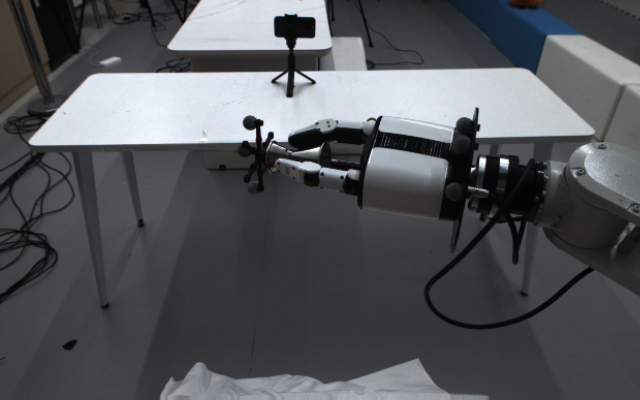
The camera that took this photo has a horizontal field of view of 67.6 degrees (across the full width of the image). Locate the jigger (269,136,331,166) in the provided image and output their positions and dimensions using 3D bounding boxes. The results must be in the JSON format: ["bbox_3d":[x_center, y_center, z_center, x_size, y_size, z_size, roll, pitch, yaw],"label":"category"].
[{"bbox_3d":[-0.019,-0.051,0.575,0.071,0.043,0.043,5,34,18],"label":"jigger"}]
